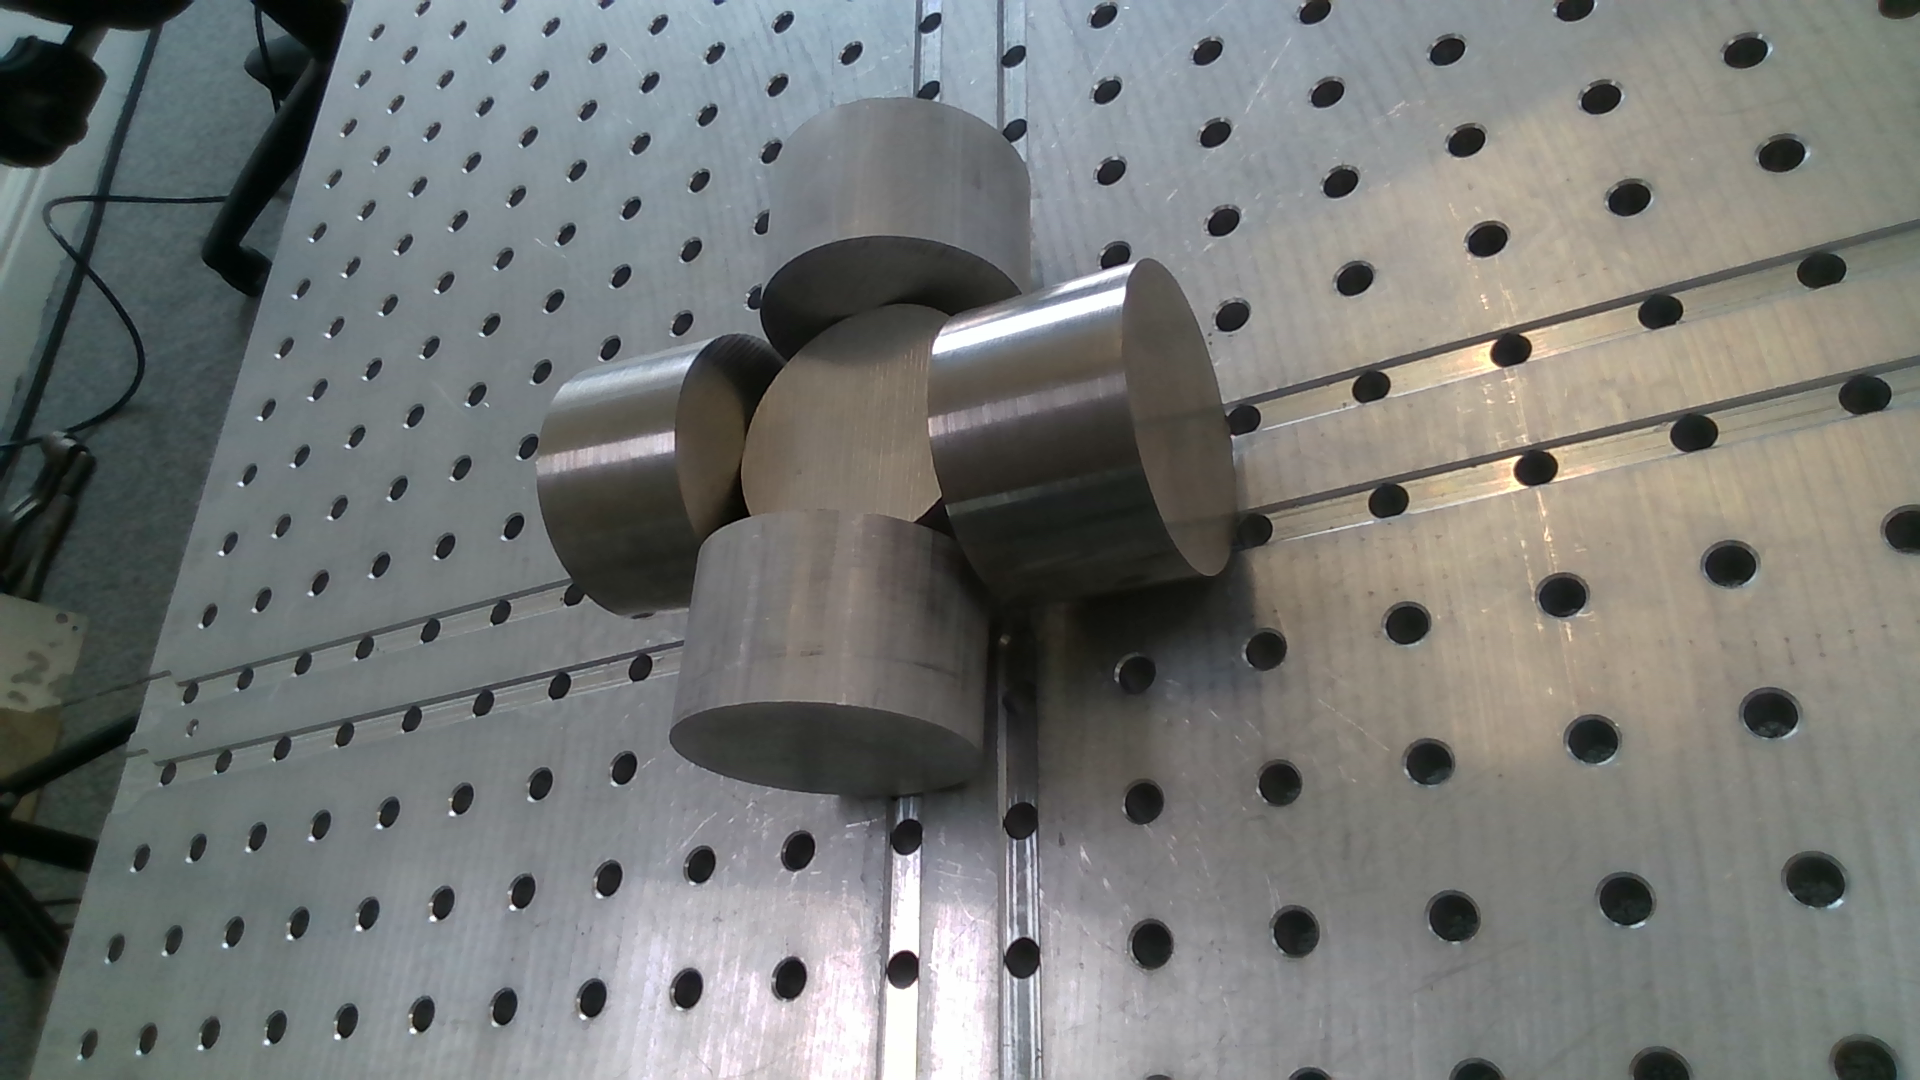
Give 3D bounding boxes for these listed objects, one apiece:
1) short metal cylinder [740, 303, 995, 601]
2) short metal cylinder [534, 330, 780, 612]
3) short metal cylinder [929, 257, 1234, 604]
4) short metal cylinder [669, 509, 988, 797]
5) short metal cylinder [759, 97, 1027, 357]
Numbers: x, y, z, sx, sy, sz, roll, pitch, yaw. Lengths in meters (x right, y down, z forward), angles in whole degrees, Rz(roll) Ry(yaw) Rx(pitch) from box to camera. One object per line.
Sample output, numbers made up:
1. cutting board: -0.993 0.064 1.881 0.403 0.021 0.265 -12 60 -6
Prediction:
1. short metal cylinder: -0.017 -0.021 0.402 0.080 0.050 0.080 -14 60 25
2. short metal cylinder: -0.081 -0.019 0.419 0.050 0.080 0.080 -8 62 28
3. short metal cylinder: 0.033 -0.026 0.353 0.050 0.080 0.080 -11 60 26
4. short metal cylinder: -0.033 0.032 0.364 0.080 0.080 0.050 -11 61 27
5. short metal cylinder: -0.019 -0.086 0.417 0.080 0.080 0.050 -13 60 26
